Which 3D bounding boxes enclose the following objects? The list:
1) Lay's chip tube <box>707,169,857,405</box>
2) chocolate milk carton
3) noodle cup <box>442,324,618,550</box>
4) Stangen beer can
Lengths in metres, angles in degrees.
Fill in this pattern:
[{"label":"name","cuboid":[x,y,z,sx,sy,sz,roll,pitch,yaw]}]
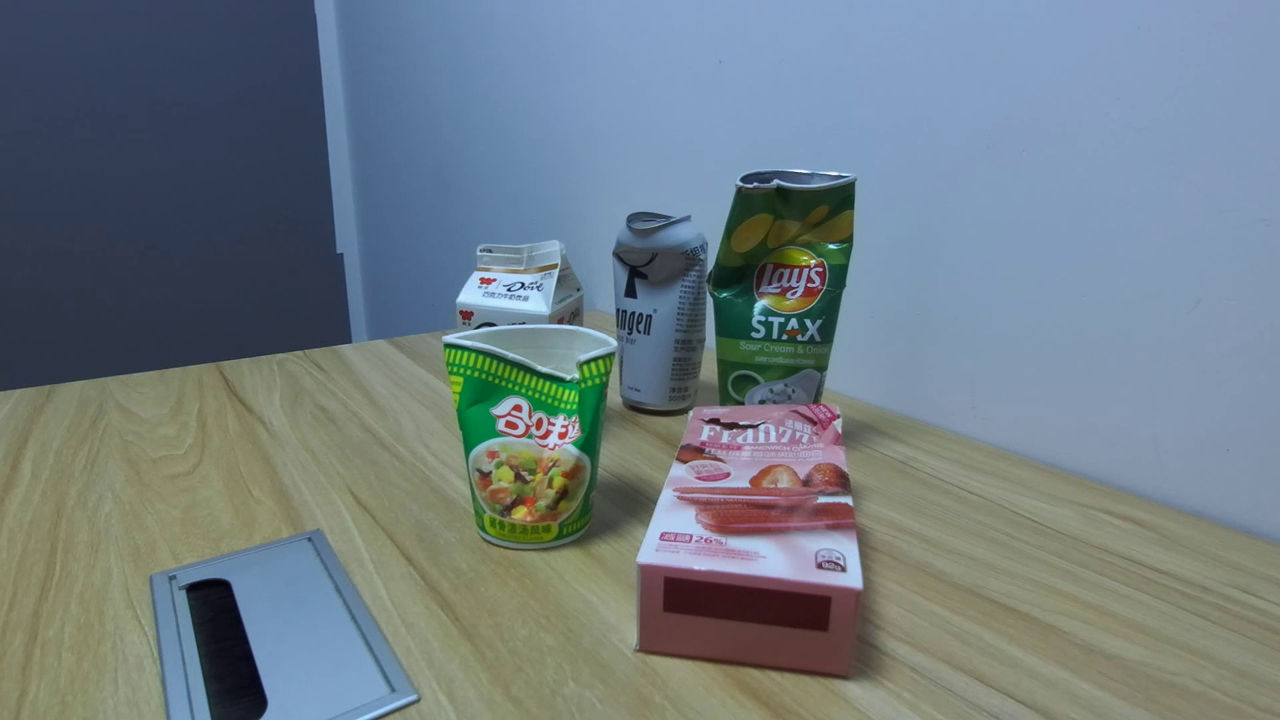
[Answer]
[{"label":"Lay's chip tube","cuboid":[0.097,-0.031,0.501,0.077,0.201,0.069,-13,22,-32]},{"label":"chocolate milk carton","cuboid":[-0.087,-0.016,0.529,0.075,0.148,0.074,6,19,14]},{"label":"noodle cup","cuboid":[-0.059,0.042,0.407,0.075,0.122,0.082,-5,7,-43]},{"label":"Stangen beer can","cuboid":[0.016,-0.039,0.588,0.077,0.162,0.065,0,17,-2]}]
